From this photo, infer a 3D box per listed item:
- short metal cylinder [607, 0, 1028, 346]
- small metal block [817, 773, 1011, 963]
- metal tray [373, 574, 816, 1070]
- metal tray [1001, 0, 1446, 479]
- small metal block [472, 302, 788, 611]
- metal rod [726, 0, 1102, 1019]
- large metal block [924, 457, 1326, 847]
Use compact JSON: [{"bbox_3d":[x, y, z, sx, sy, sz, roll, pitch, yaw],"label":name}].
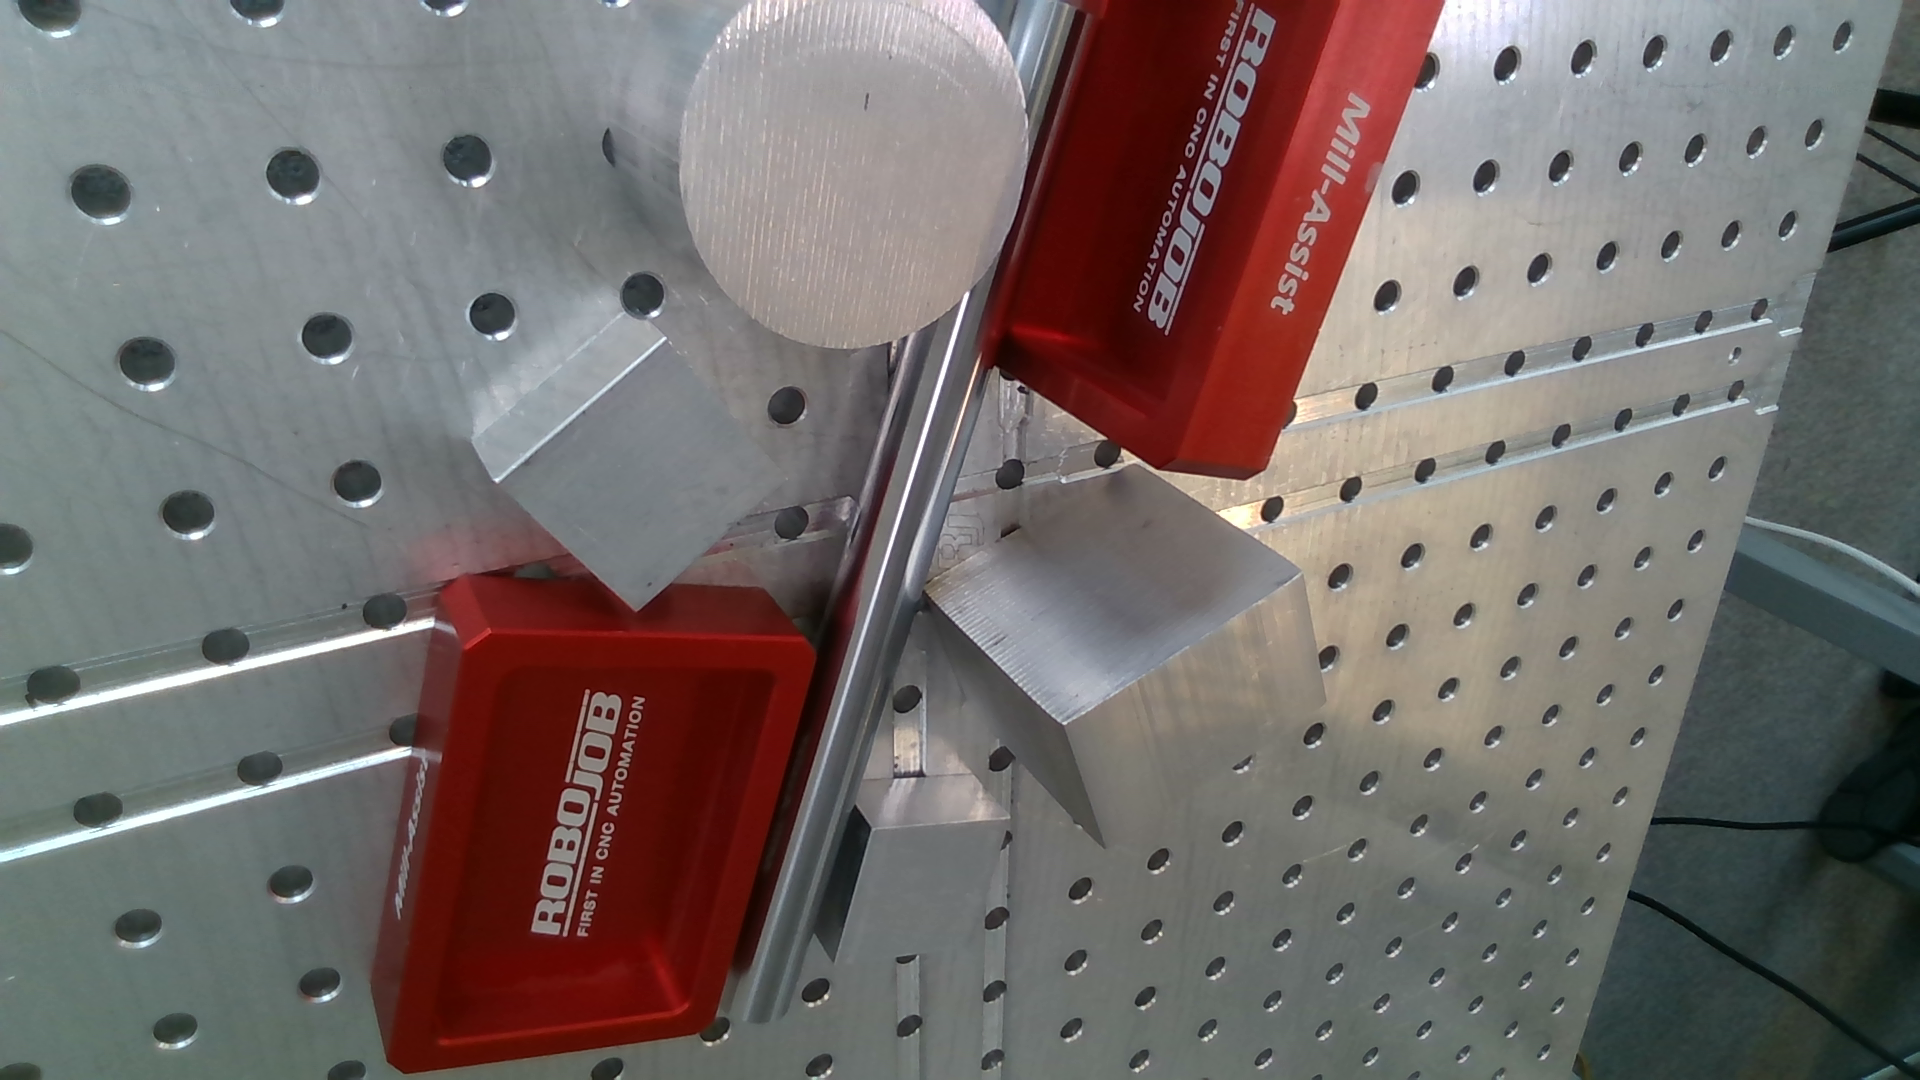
[{"bbox_3d":[-0.032,-0.090,0.307,0.080,0.050,0.080,-14,122,-25],"label":"short metal cylinder"},{"bbox_3d":[-0.017,0.103,0.438,0.050,0.025,0.050,3,113,-33],"label":"small metal block"},{"bbox_3d":[-0.099,0.076,0.369,0.090,0.030,0.130,4,112,-33],"label":"metal tray"},{"bbox_3d":[0.057,-0.091,0.335,0.030,0.090,0.130,5,112,-33],"label":"metal tray"},{"bbox_3d":[-0.079,-0.020,0.334,0.050,0.025,0.050,-42,129,-6],"label":"small metal block"},{"bbox_3d":[-0.021,0.005,0.382,0.025,0.025,0.301,5,112,-34],"label":"metal rod"},{"bbox_3d":[0.046,0.029,0.403,0.080,0.080,0.050,-31,127,-14],"label":"large metal block"}]
